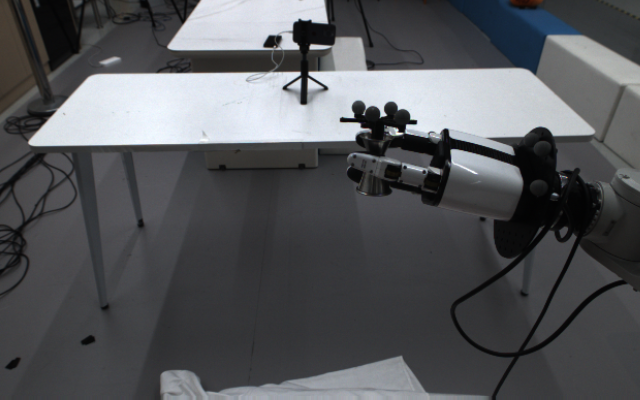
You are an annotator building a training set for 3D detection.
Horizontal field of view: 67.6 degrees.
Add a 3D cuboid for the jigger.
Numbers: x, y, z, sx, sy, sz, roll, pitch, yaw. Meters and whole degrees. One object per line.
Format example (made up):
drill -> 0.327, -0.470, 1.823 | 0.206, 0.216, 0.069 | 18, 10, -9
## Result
jigger -> 0.066, -0.045, 0.583 | 0.043, 0.071, 0.043 | 1, 20, 0
